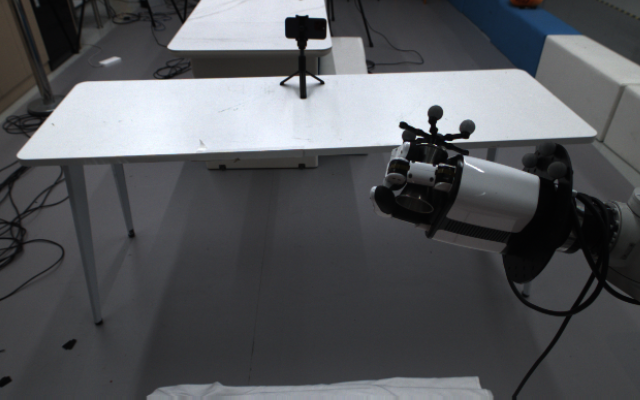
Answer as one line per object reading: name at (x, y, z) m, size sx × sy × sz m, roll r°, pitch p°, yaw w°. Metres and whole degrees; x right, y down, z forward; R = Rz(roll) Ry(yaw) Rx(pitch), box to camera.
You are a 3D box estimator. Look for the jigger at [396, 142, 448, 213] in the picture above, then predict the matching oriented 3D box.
jigger at (0.117, -0.026, 0.544) m, size 0.043 × 0.043 × 0.071 m, roll 15°, pitch 70°, yaw 18°
